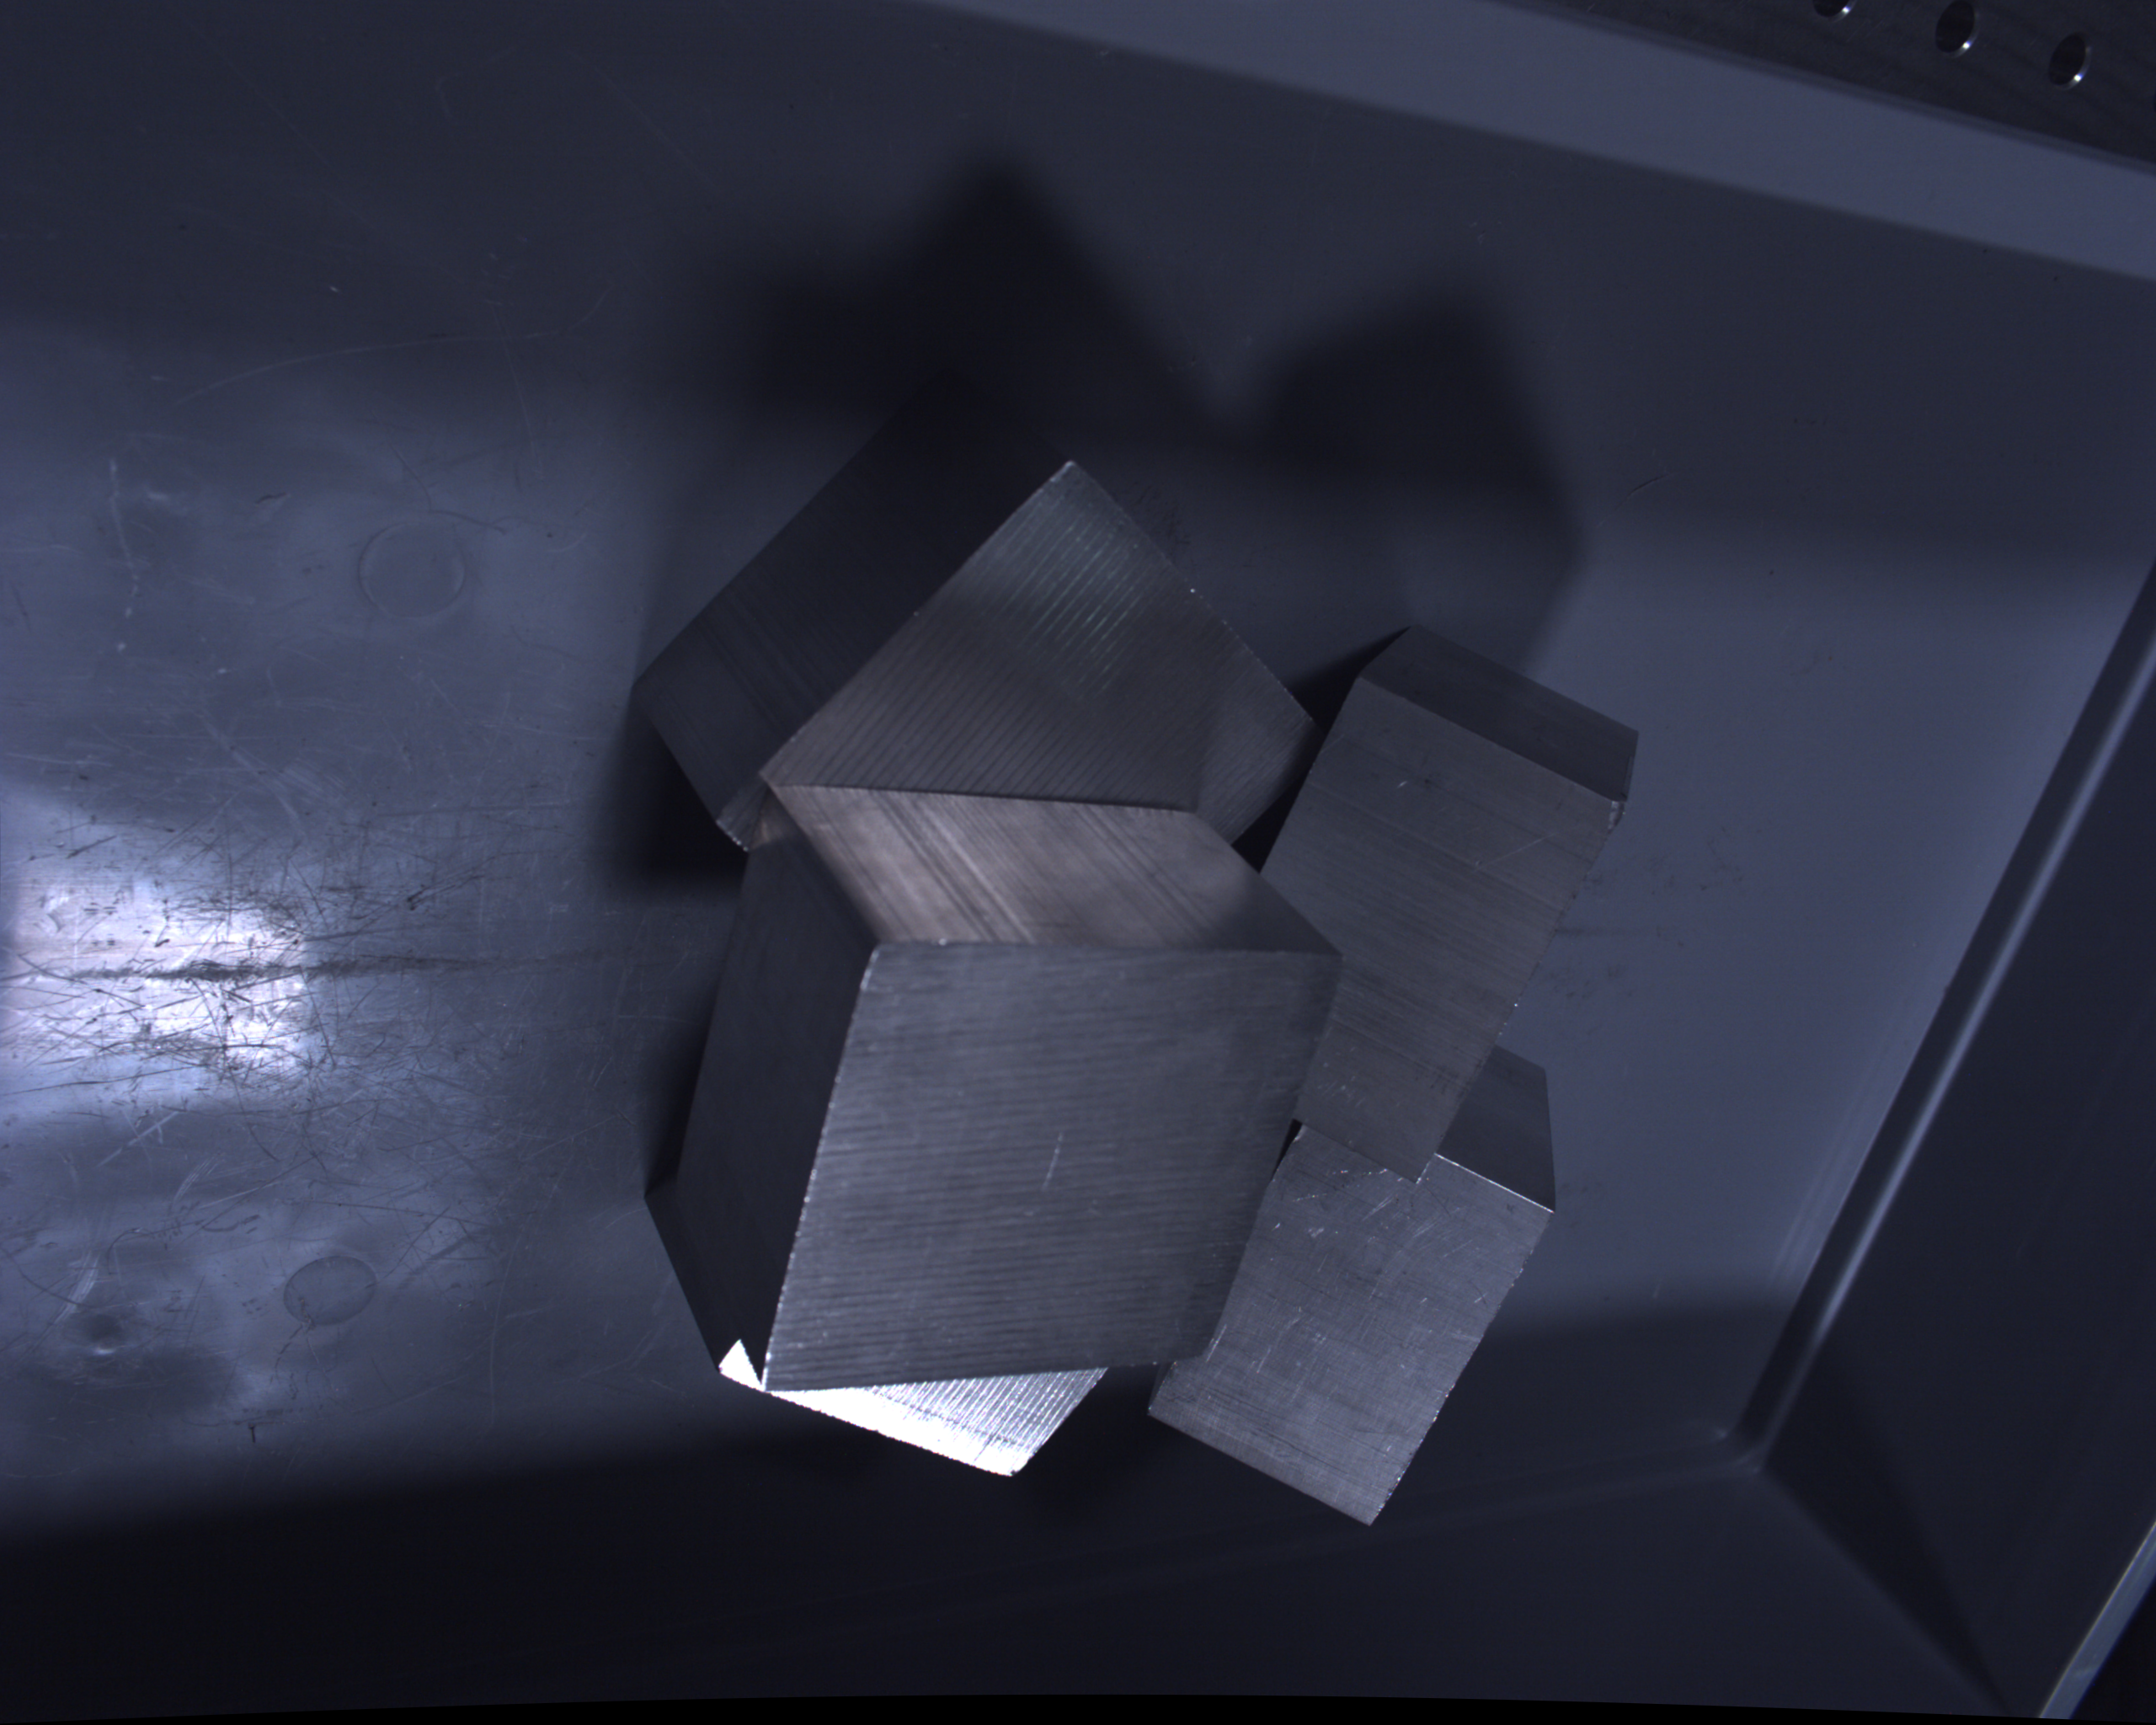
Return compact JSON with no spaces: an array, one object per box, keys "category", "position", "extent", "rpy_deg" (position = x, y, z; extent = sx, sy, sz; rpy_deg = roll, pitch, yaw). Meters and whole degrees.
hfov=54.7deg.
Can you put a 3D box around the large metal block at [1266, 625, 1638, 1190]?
[{"category":"large metal block","position":[0.065,0.005,0.403],"extent":[0.079,0.050,0.080],"rpy_deg":[-65,171,18]}]

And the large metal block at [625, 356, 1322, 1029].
[{"category":"large metal block","position":[-0.017,-0.026,0.367],"extent":[0.080,0.050,0.080],"rpy_deg":[-45,130,3]}]

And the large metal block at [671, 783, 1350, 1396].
[{"category":"large metal block","position":[-0.013,0.036,0.340],"extent":[0.081,0.050,0.079],"rpy_deg":[3,116,-29]}]

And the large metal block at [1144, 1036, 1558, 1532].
[{"category":"large metal block","position":[0.060,0.079,0.446],"extent":[0.050,0.080,0.079],"rpy_deg":[26,108,3]}]

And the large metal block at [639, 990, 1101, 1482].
[{"category":"large metal block","position":[-0.025,0.067,0.416],"extent":[0.080,0.050,0.080],"rpy_deg":[34,99,-39]}]
